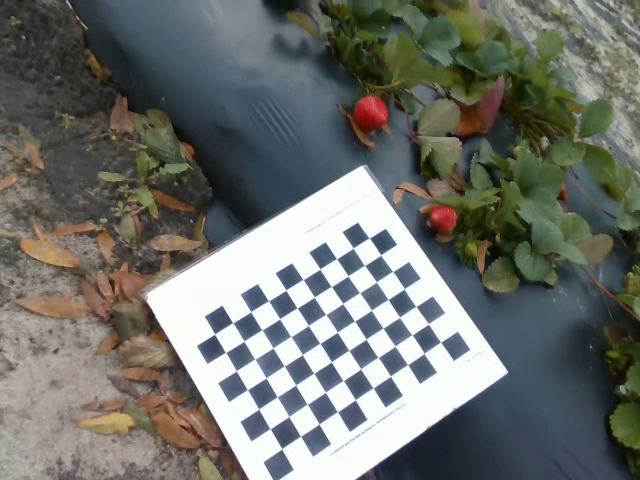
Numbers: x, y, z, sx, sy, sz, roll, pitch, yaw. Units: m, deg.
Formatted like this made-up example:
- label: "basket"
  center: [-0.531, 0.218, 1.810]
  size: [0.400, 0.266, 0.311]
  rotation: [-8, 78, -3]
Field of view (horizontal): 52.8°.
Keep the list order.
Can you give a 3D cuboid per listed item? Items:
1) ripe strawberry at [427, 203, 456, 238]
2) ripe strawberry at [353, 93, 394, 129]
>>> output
- label: "ripe strawberry"
  center: [0.148, -0.024, 0.772]
  size: [0.037, 0.041, 0.042]
  rotation: [-29, -13, 31]
- label: "ripe strawberry"
  center: [0.071, -0.155, 0.799]
  size: [0.046, 0.043, 0.065]
  rotation: [-26, 28, -8]
